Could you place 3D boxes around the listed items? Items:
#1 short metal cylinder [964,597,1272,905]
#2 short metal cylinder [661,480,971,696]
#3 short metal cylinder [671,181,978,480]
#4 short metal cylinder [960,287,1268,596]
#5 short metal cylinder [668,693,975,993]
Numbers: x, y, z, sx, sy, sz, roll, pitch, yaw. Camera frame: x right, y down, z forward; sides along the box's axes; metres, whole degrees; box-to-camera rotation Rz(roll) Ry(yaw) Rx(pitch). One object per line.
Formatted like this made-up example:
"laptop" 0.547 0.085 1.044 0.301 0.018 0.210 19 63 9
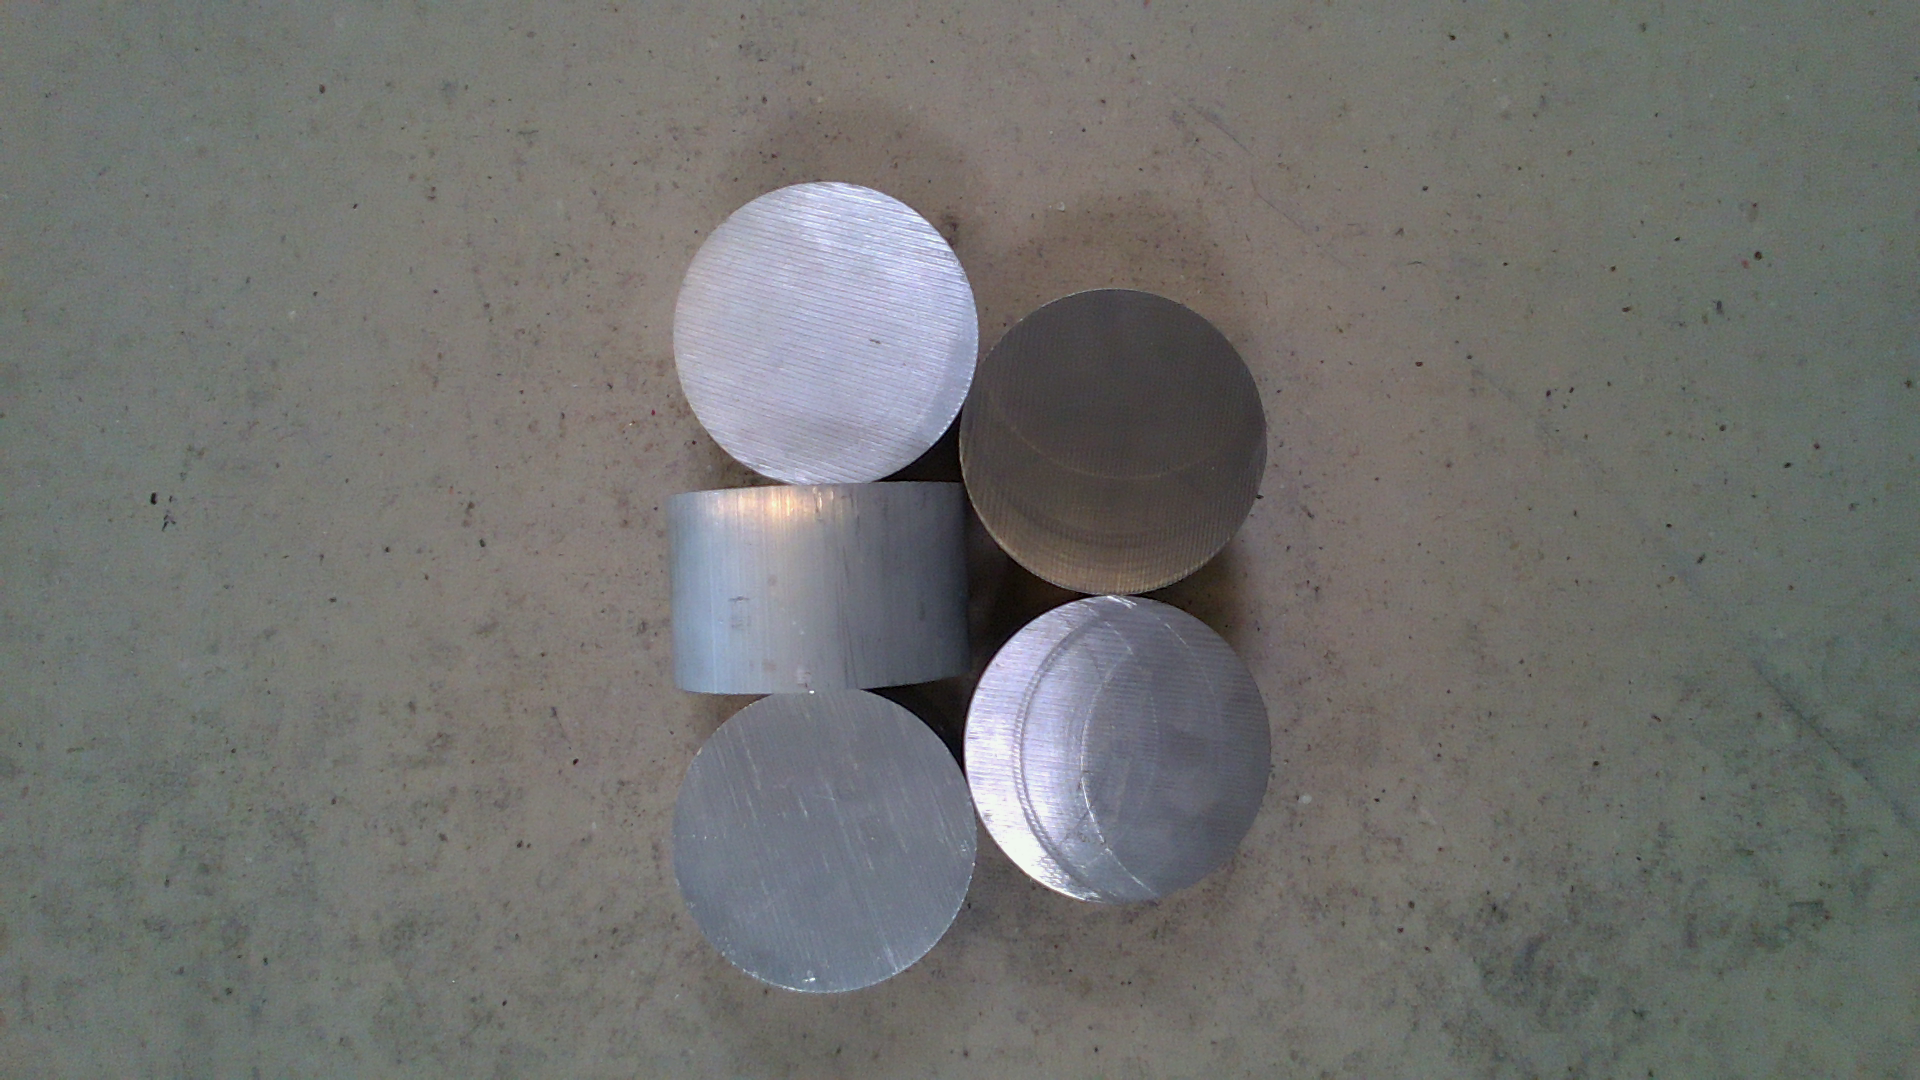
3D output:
"short metal cylinder" 0.042 0.055 0.383 0.080 0.050 0.080 0 91 1
"short metal cylinder" -0.038 0.012 0.368 0.080 0.080 0.050 -3 90 0
"short metal cylinder" -0.035 -0.054 0.382 0.080 0.050 0.080 0 90 1
"short metal cylinder" 0.040 -0.026 0.382 0.080 0.050 0.080 0 91 0
"short metal cylinder" -0.036 0.078 0.383 0.080 0.050 0.080 0 90 1
